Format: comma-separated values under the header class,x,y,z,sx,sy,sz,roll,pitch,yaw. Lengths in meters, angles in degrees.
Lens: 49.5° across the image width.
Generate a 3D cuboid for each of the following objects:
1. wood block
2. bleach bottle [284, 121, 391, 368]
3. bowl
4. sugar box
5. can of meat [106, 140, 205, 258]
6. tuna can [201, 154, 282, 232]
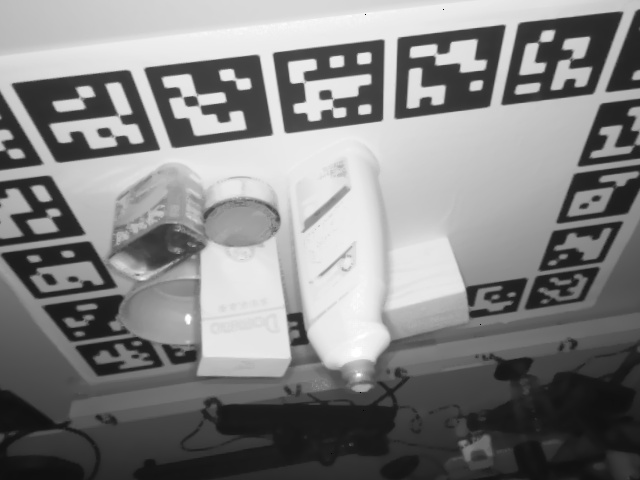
class,x,y,z,sx,sy,sz,roll,pitch,yaw
wood block,0.082,0.068,0.887,0.206,0.090,0.090,-12,136,4
bleach bottle,0.026,0.002,0.667,0.102,0.252,0.068,-24,139,16
bowl,-0.179,0.059,0.842,0.162,0.055,0.160,-9,141,-7
sugar box,-0.096,0.045,0.745,0.094,0.177,0.044,5,136,-22
can of meat,-0.169,-0.042,0.708,0.101,0.084,0.058,-26,141,21
tuna can,-0.085,-0.050,0.745,0.086,0.034,0.085,-7,137,-5
